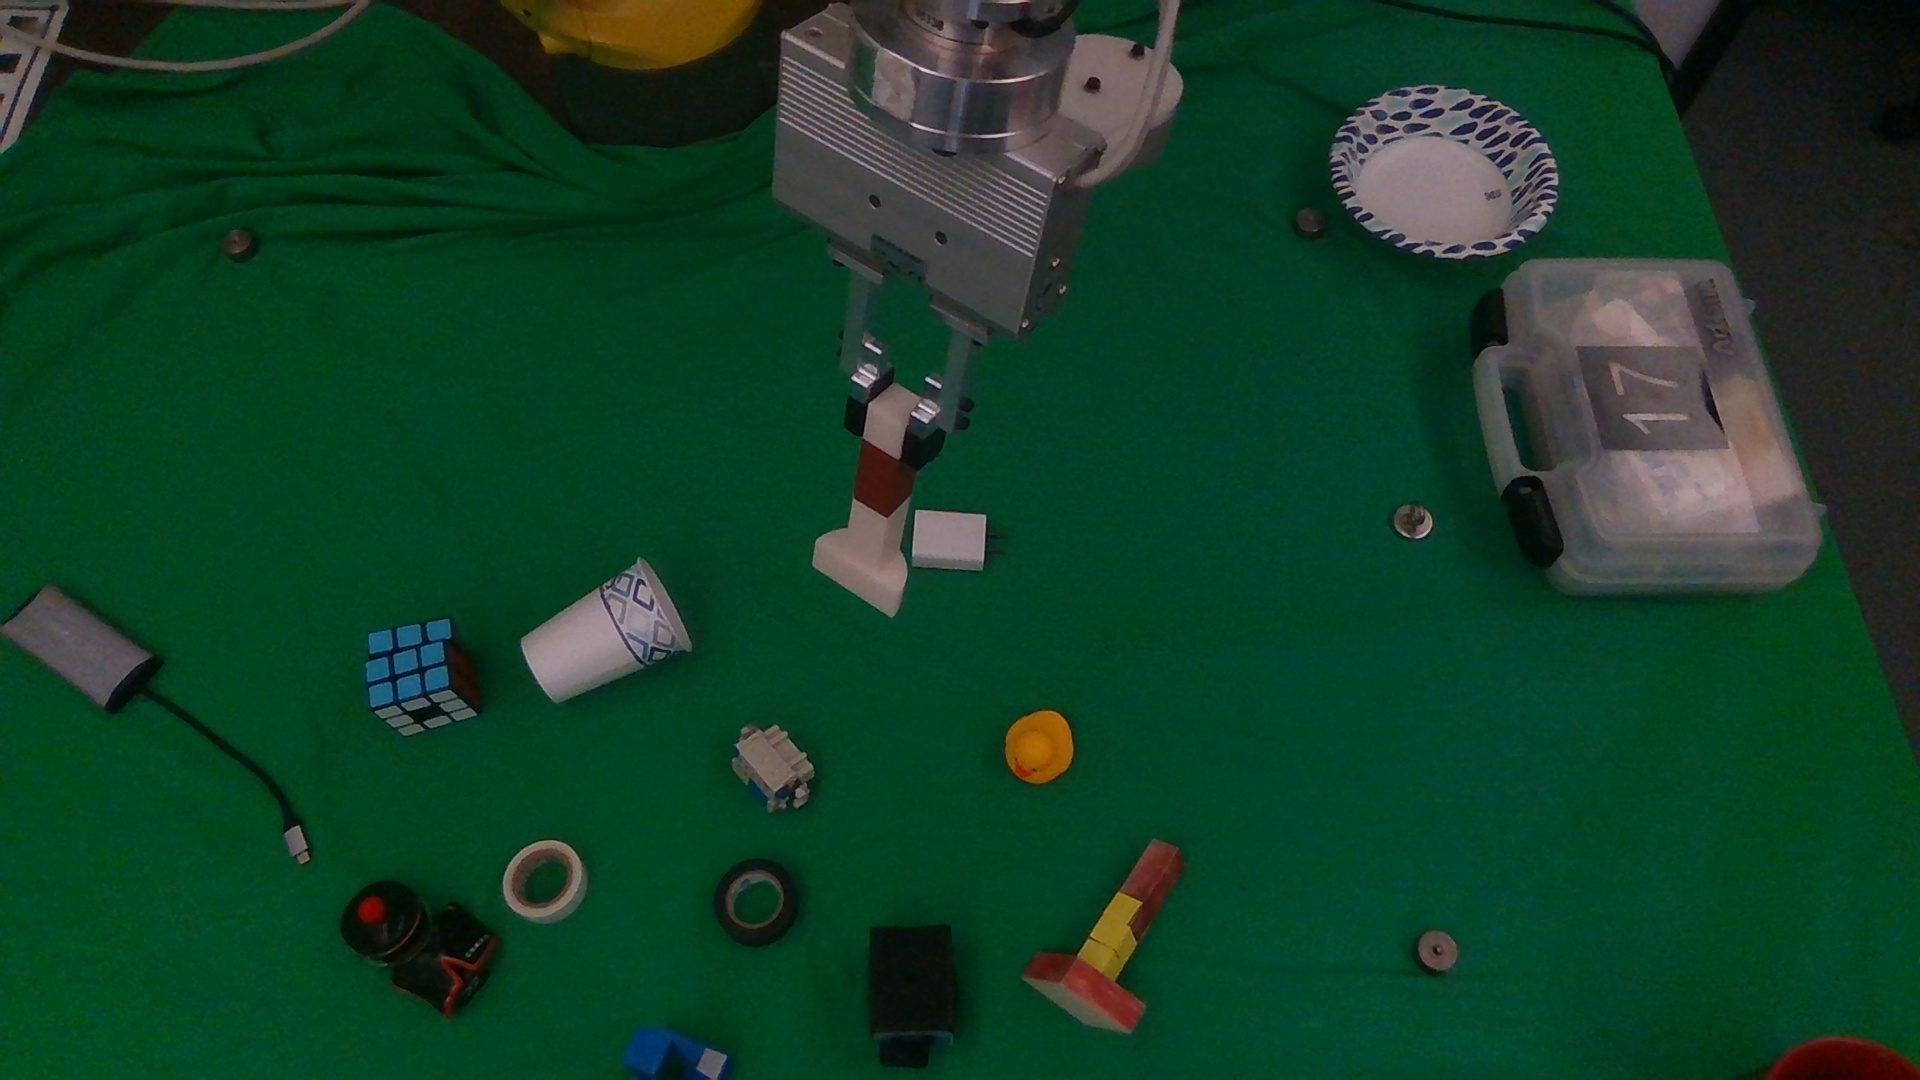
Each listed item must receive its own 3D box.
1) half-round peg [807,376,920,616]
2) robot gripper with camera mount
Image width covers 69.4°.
[{"bbox_3d":[-0.038,-0.022,0.639,0.054,0.122,0.031,33,49,18],"label":"half-round peg"},{"bbox_3d":[0.018,-0.148,0.606,0.119,0.159,0.193,32,53,16],"label":"robot gripper with camera mount"}]
